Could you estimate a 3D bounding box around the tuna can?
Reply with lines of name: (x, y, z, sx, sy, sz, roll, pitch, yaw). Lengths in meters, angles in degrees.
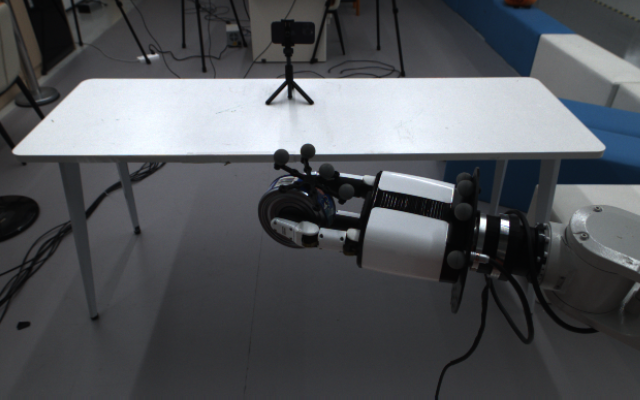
tuna can: (-0.024, 0.020, 0.555, 0.085, 0.085, 0.034, 12, 35, 14)
